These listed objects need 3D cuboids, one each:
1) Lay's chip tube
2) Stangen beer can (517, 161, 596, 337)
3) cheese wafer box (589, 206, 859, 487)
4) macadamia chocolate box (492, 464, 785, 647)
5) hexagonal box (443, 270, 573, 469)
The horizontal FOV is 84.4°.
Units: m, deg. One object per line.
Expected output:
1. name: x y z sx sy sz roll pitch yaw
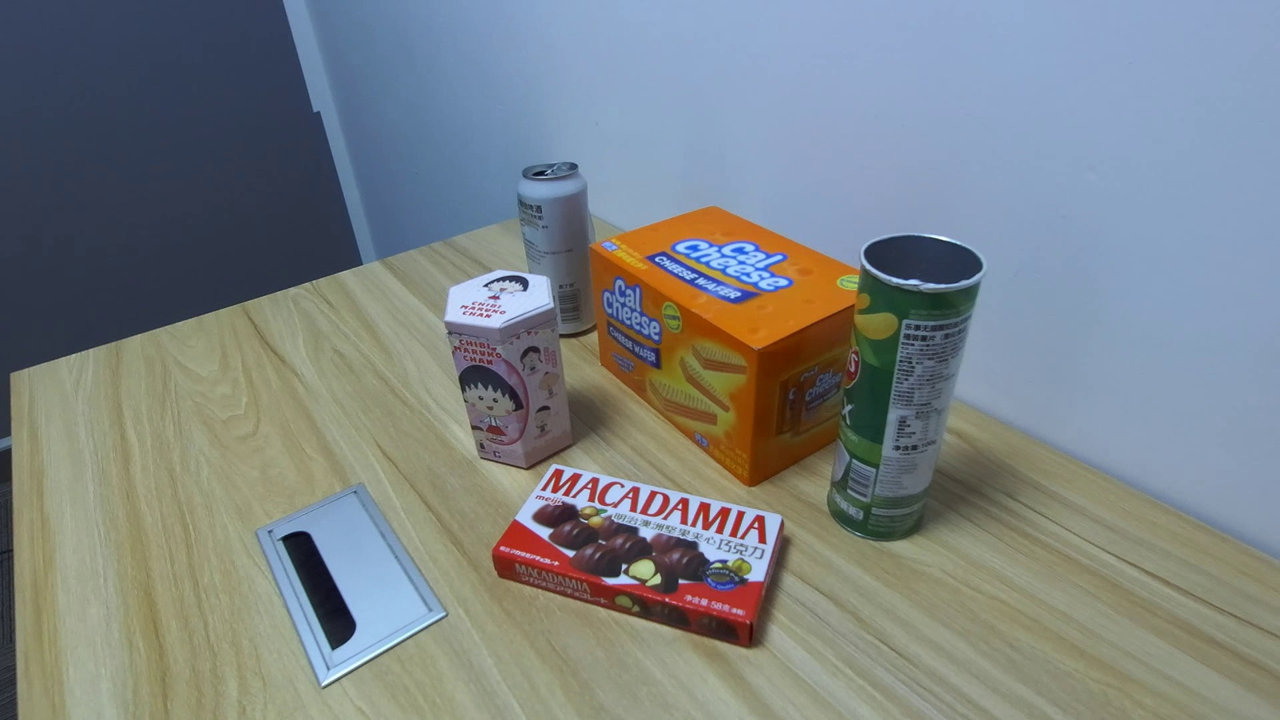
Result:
1. Lay's chip tube: 0.166 0.024 0.455 0.071 0.203 0.071 -3 34 2
2. Stangen beer can: -0.080 -0.112 0.711 0.070 0.173 0.070 22 40 34
3. cheese wafer box: 0.078 -0.025 0.608 0.149 0.129 0.220 -23 39 -27
4. macadamia chocolate box: 0.000 0.127 0.481 0.177 0.027 0.096 10 35 19
5. hexagonal box: -0.102 0.009 0.564 0.091 0.136 0.084 9 35 18
